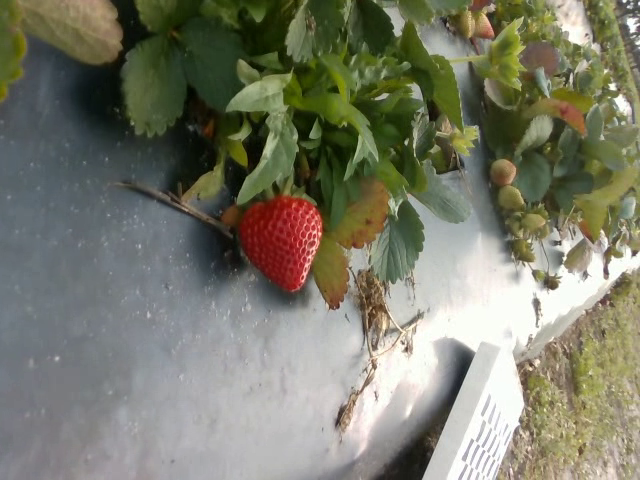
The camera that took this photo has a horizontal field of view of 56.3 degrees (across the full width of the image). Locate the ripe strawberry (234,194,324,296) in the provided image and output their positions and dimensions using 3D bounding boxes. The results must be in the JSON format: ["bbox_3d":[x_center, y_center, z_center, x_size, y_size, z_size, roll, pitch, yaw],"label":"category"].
[{"bbox_3d":[-0.020,0.002,0.279,0.042,0.051,0.043,-14,-16,26],"label":"ripe strawberry"}]
